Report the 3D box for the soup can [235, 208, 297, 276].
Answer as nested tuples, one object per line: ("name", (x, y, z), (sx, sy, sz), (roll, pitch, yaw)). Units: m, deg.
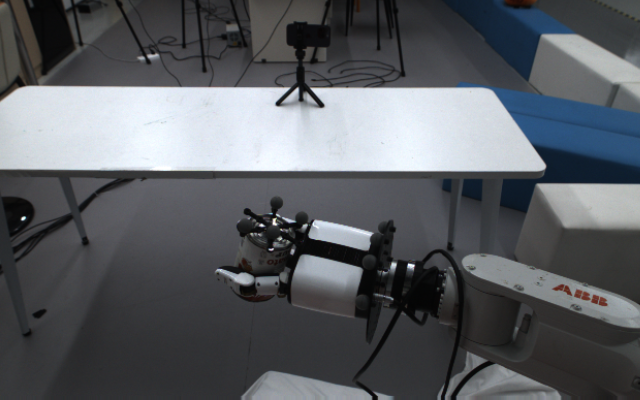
("soup can", (-0.076, 0.078, 0.641), (0.067, 0.101, 0.067), (14, 35, -10))
